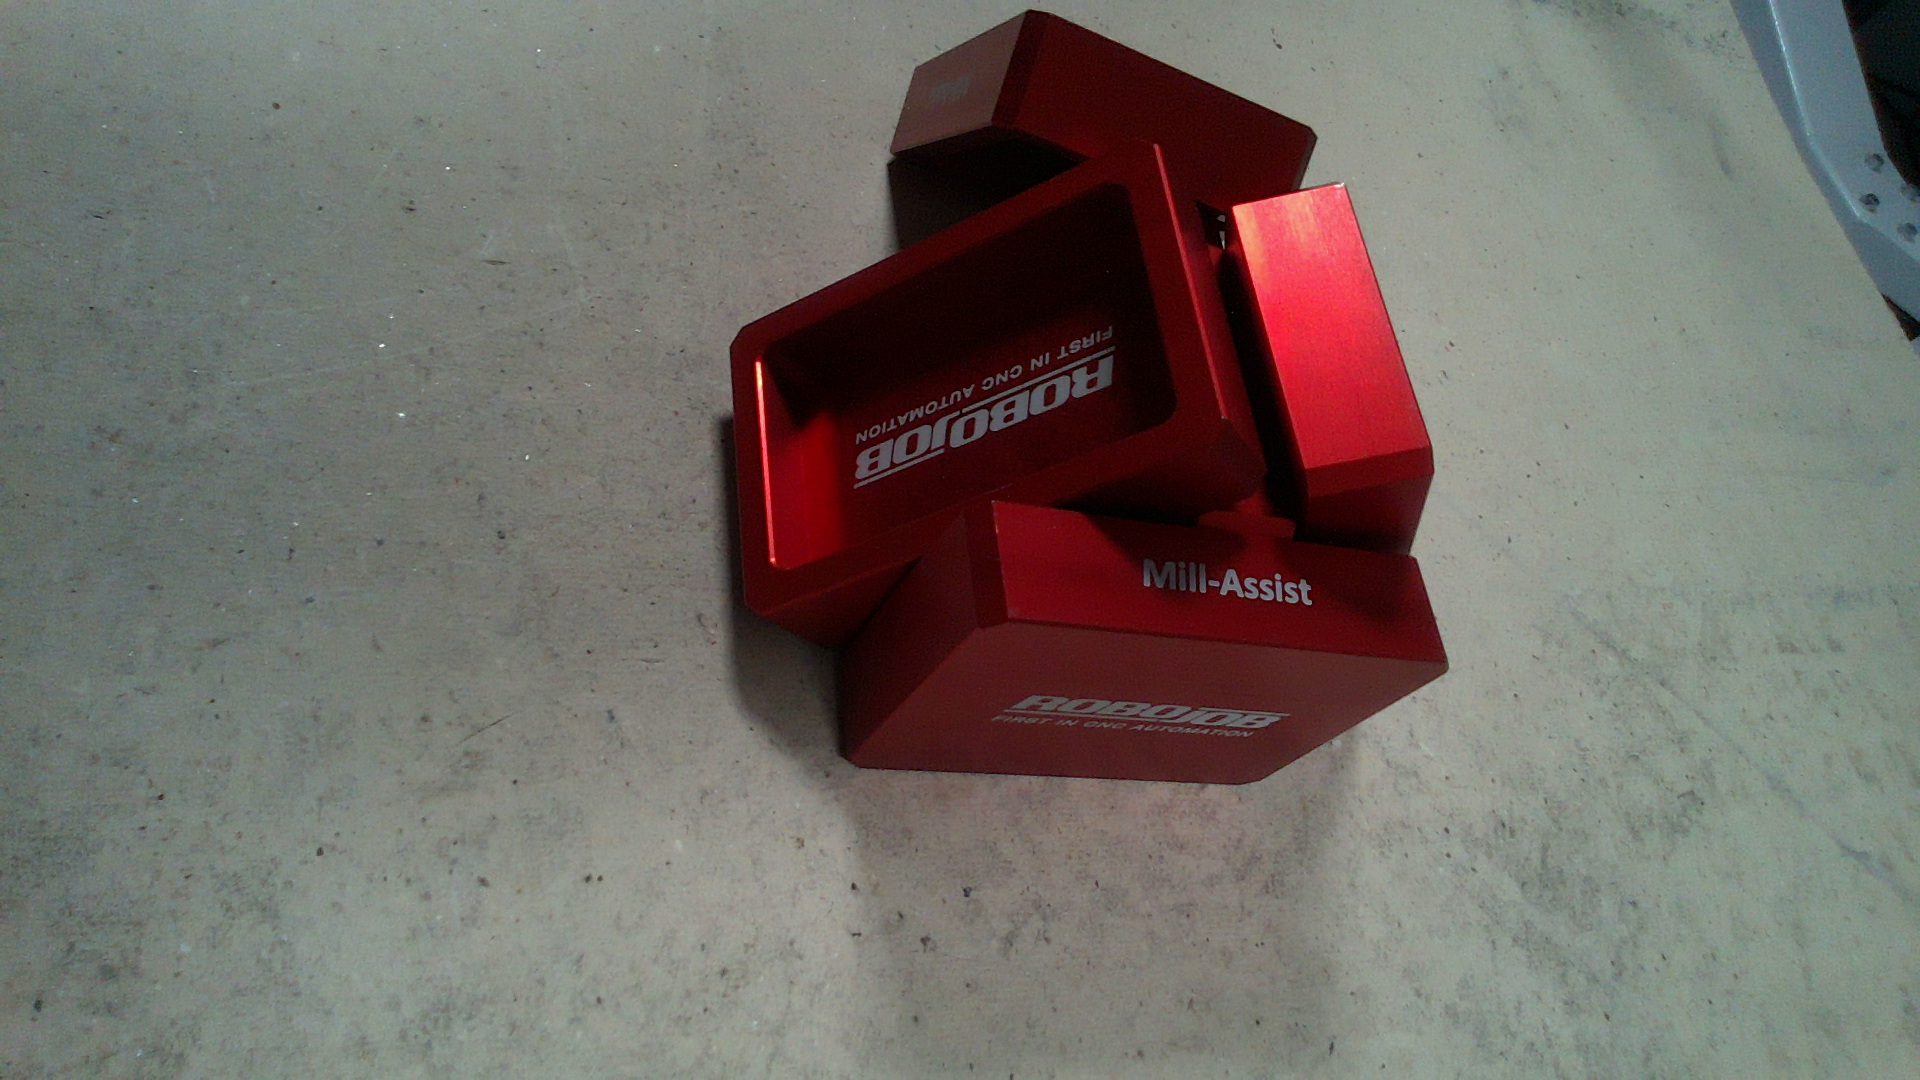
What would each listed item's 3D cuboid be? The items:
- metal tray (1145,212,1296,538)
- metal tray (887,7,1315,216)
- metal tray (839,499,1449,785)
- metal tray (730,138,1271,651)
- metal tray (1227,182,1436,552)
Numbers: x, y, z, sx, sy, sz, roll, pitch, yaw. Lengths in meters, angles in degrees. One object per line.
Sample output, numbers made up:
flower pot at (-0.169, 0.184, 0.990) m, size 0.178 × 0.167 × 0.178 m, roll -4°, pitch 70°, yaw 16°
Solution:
metal tray at (0.045, -0.038, 0.395) m, size 0.030 × 0.090 × 0.130 m, roll 7°, pitch 59°, yaw -24°
metal tray at (0.037, -0.123, 0.425) m, size 0.090 × 0.130 × 0.030 m, roll 16°, pitch 96°, yaw -19°
metal tray at (0.045, 0.032, 0.352) m, size 0.130 × 0.090 × 0.030 m, roll 7°, pitch 58°, yaw -25°
metal tray at (0.004, -0.035, 0.351) m, size 0.030 × 0.130 × 0.090 m, roll 37°, pitch 38°, yaw -53°
metal tray at (0.100, -0.025, 0.395) m, size 0.030 × 0.130 × 0.090 m, roll -10°, pitch 62°, yaw 4°
